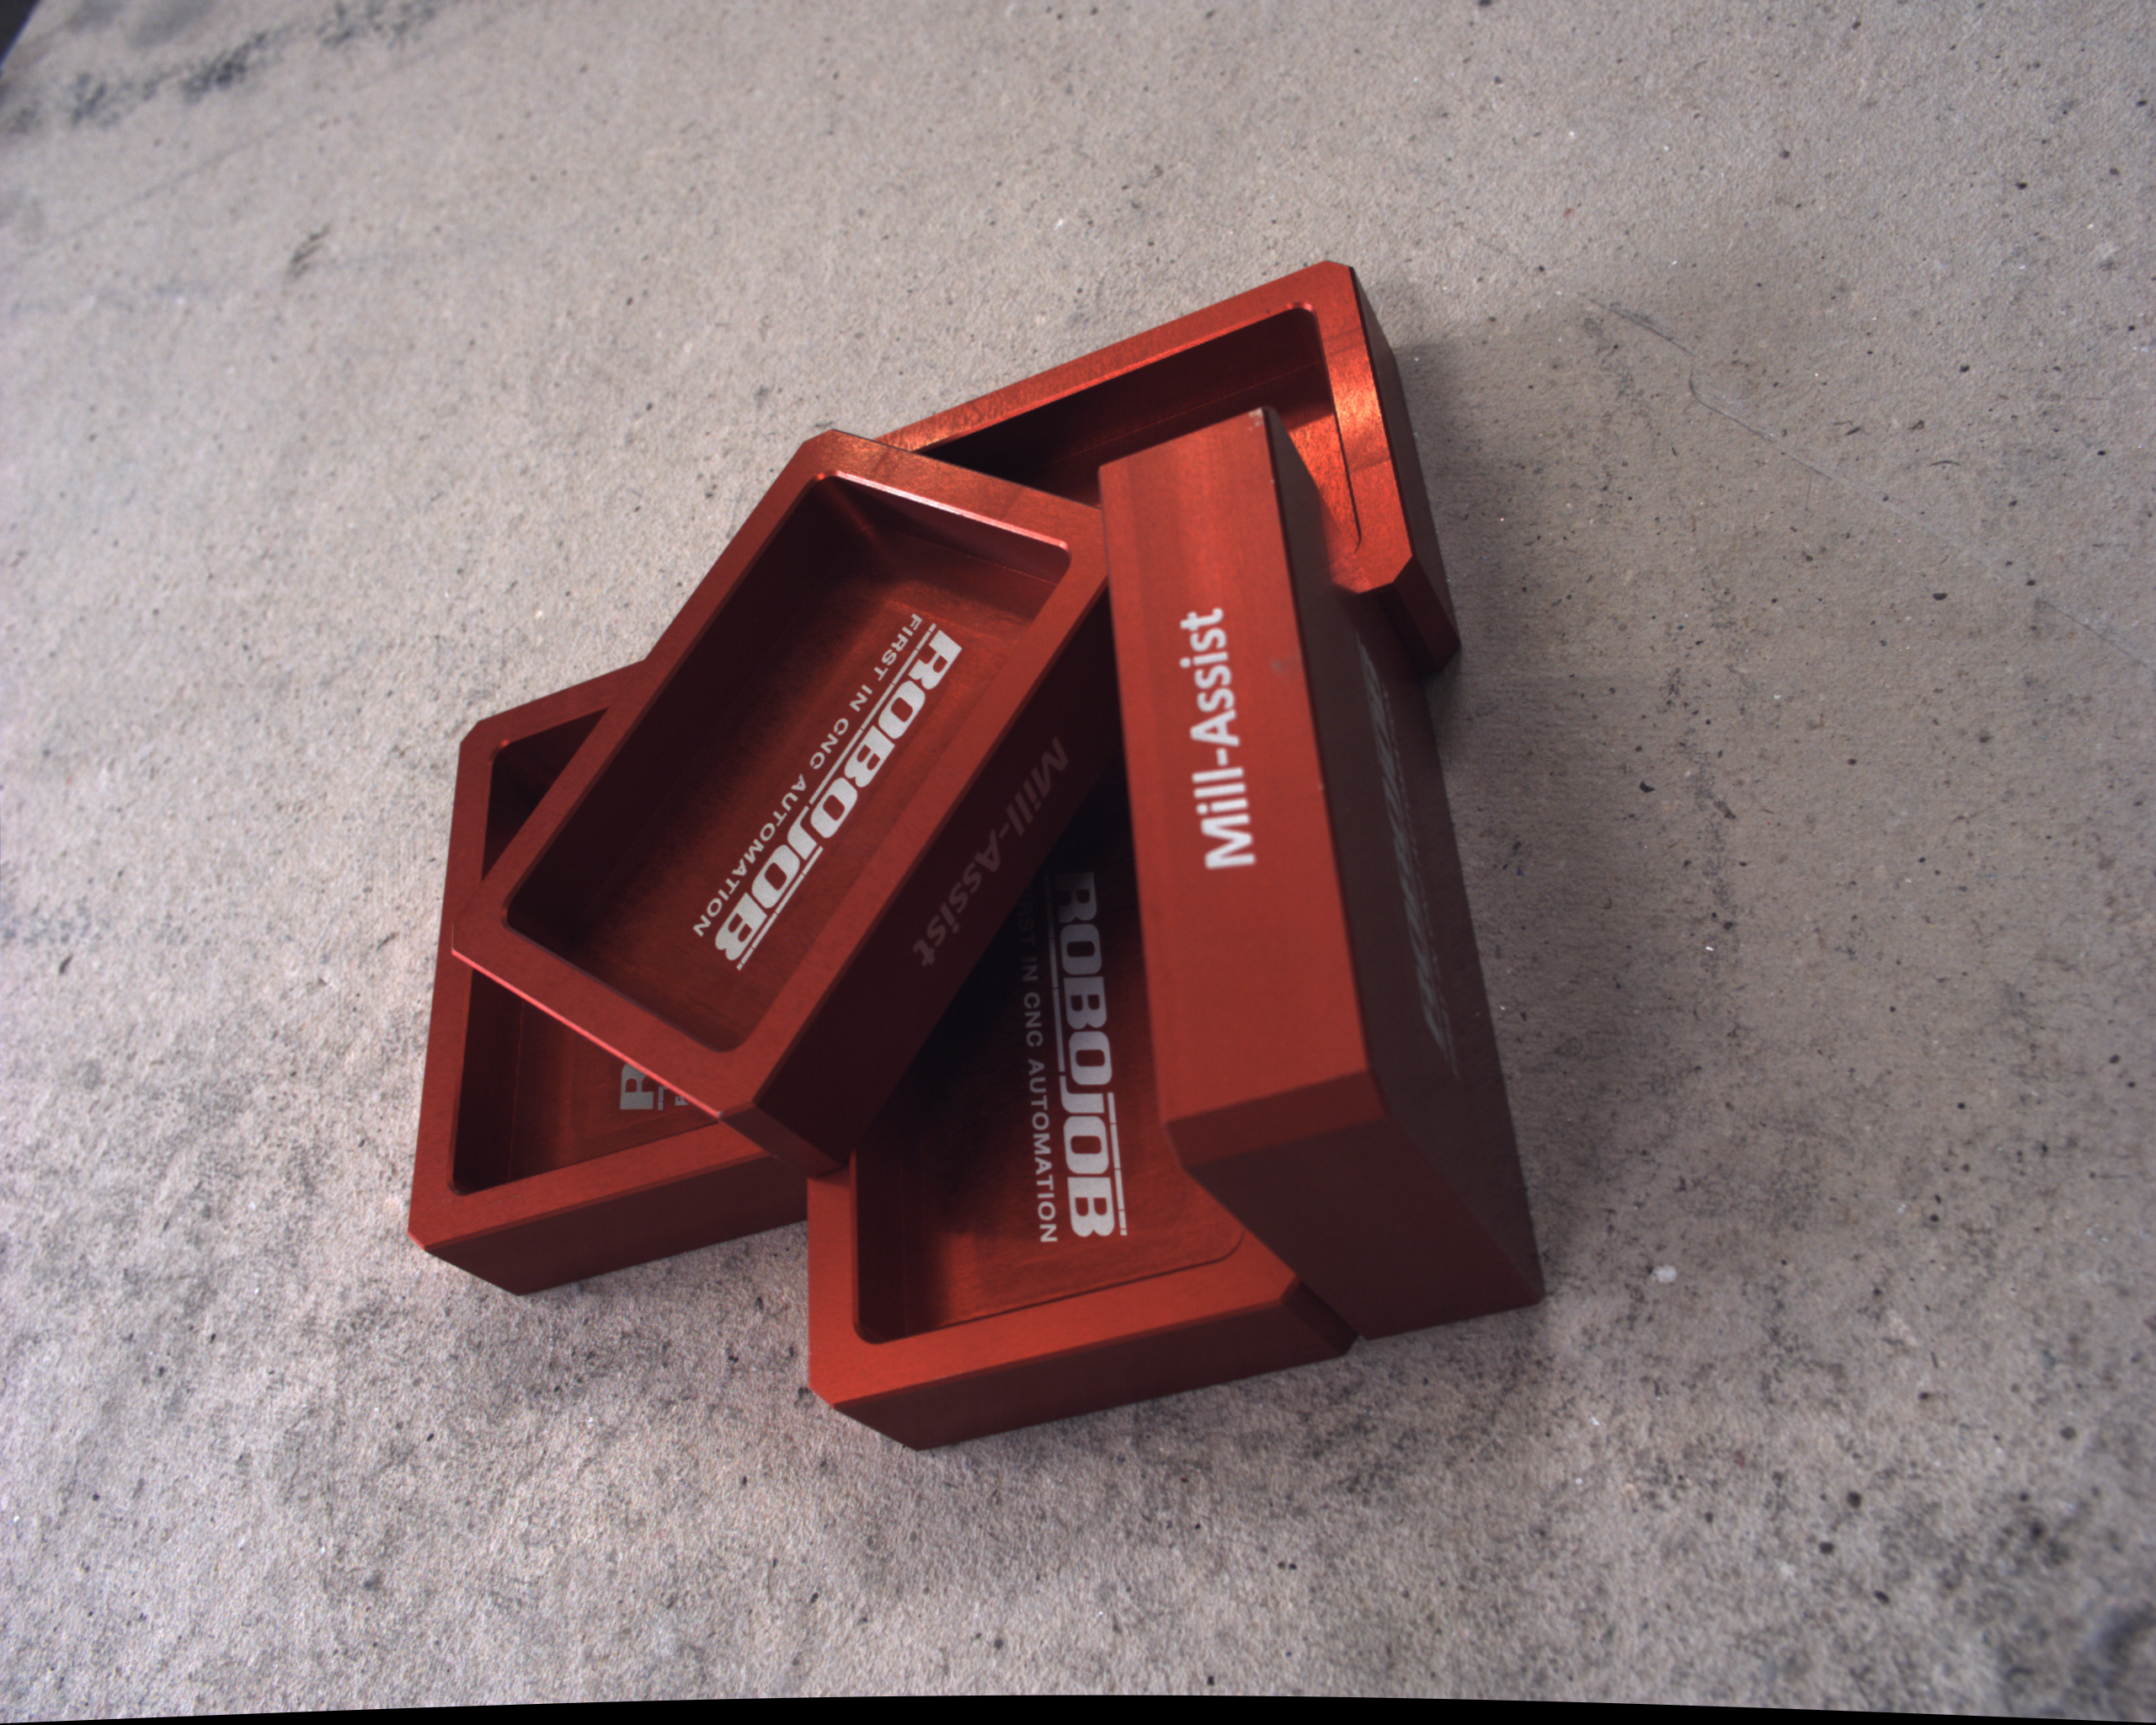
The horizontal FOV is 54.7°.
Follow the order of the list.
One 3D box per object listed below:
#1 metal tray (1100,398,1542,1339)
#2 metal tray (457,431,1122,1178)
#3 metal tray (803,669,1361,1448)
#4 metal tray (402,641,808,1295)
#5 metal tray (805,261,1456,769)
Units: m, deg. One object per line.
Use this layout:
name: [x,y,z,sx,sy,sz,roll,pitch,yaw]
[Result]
metal tray: [0.039,0.001,0.339,0.030,0.090,0.130,-17,55,19]
metal tray: [-0.049,-0.016,0.400,0.090,0.030,0.130,24,75,37]
metal tray: [-0.004,0.032,0.382,0.090,0.030,0.130,-18,56,19]
metal tray: [-0.089,0.017,0.438,0.090,0.030,0.130,-17,54,18]
metal tray: [0.006,-0.064,0.439,0.130,0.030,0.090,-17,55,19]
